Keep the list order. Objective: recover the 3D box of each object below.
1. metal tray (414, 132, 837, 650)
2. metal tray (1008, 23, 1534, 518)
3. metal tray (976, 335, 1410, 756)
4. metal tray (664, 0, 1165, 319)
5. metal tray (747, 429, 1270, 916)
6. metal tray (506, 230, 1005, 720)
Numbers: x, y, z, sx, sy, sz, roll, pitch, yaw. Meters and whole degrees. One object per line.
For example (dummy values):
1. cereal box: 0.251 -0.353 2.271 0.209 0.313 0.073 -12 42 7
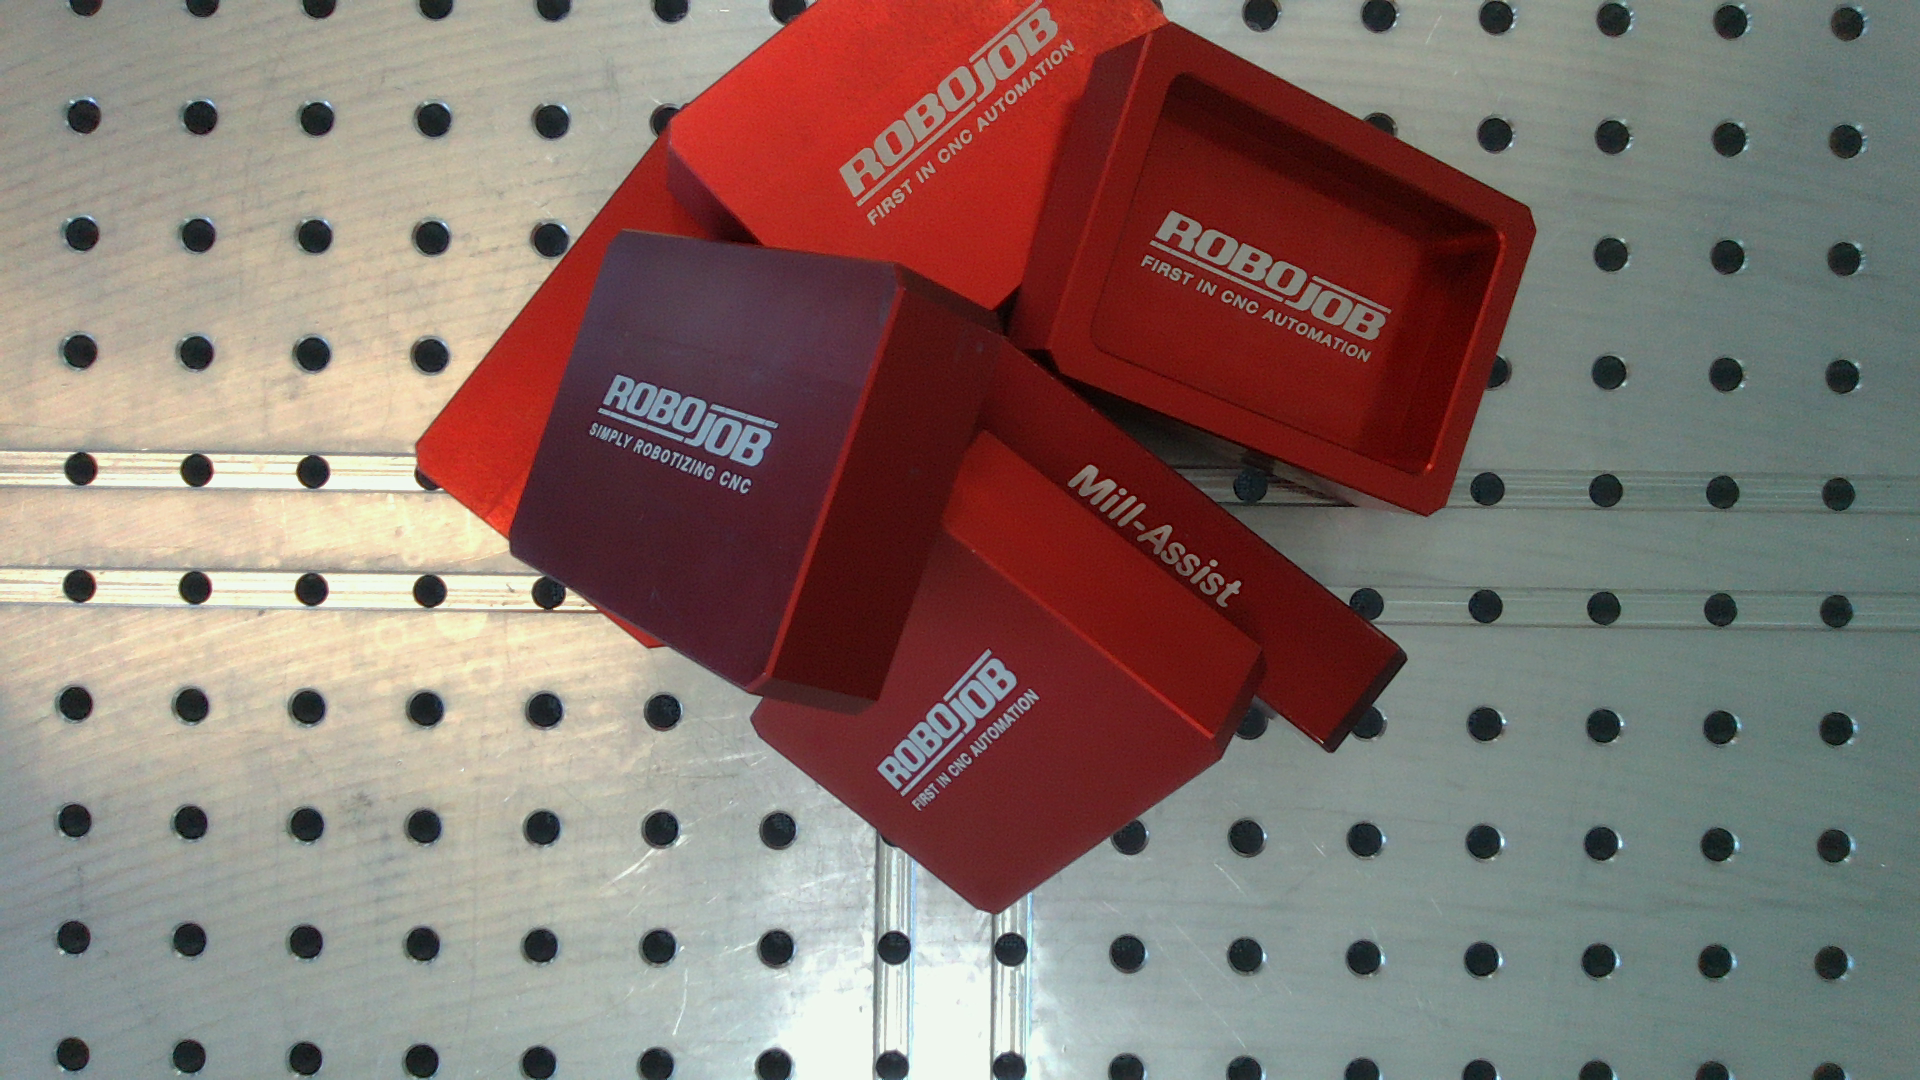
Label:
1. metal tray: -0.078 -0.046 0.394 0.090 0.030 0.130 39 90 -1
2. metal tray: 0.085 -0.068 0.371 0.130 0.030 0.090 18 90 -23
3. metal tray: 0.047 0.000 0.364 0.130 0.090 0.030 38 90 0
4. metal tray: -0.004 -0.112 0.376 0.130 0.030 0.090 -44 94 -14
5. metal tray: 0.005 0.040 0.350 0.090 0.130 0.030 38 52 0
6. metal tray: -0.055 -0.021 0.322 0.030 0.129 0.090 19 90 -42
